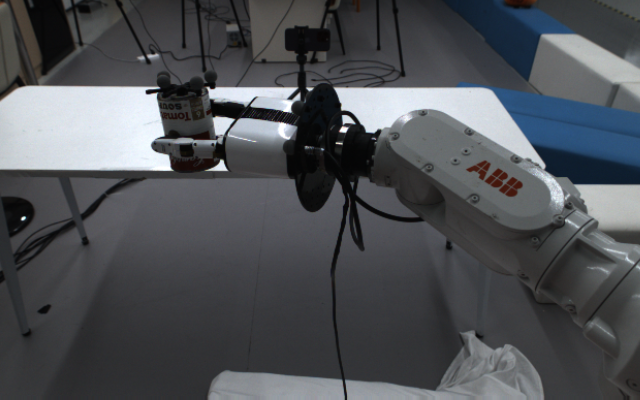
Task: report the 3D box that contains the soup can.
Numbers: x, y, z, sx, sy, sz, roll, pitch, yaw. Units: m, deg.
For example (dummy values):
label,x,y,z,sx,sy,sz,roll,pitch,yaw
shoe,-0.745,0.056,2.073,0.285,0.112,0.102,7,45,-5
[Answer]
label,x,y,z,sx,sy,sz,roll,pitch,yaw
soup can,-0.176,-0.094,0.655,0.067,0.101,0.067,-4,26,2
